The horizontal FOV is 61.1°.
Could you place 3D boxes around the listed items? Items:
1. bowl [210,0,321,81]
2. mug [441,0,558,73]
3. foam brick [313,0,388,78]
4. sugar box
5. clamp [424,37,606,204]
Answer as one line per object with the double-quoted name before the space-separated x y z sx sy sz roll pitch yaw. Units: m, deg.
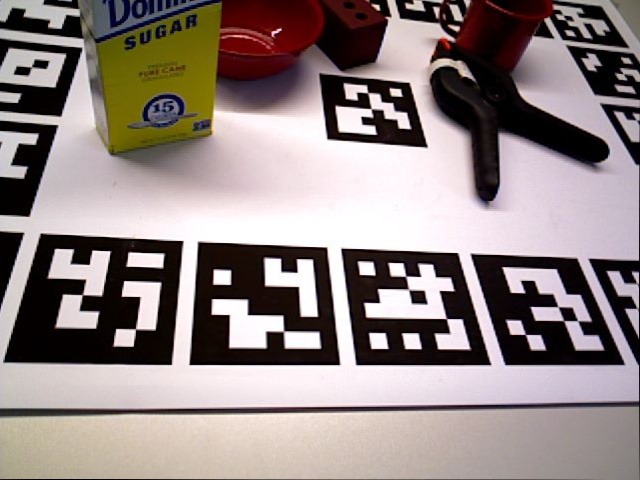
"bowl" -0.083 -0.211 0.543 0.160 0.056 0.159 7 54 -10
"mug" 0.193 -0.250 0.616 0.117 0.083 0.091 25 53 1
"foam brick" 0.026 -0.223 0.587 0.052 0.052 0.078 -23 64 -26
"sugar box" -0.129 -0.142 0.406 0.091 0.181 0.045 -19 63 -27
"clamp" 0.170 -0.136 0.554 0.162 0.037 0.202 -20 63 -22
